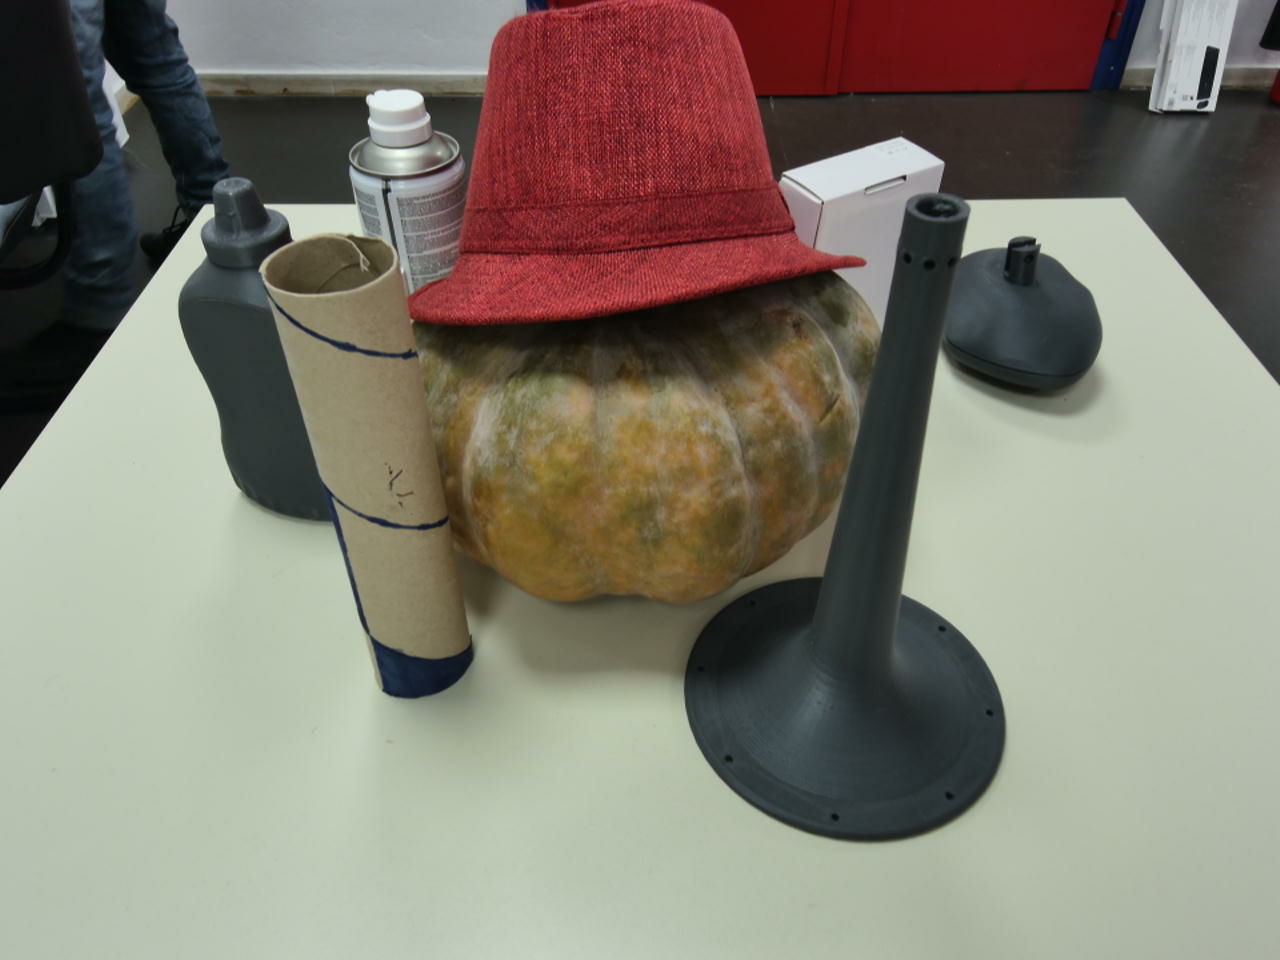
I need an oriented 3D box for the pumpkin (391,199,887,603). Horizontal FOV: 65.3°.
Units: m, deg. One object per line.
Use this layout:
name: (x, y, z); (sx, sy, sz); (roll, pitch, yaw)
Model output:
pumpkin: (-0.008, -0.044, 0.527); (0.252, 0.169, 0.251); (0, 39, 0)
